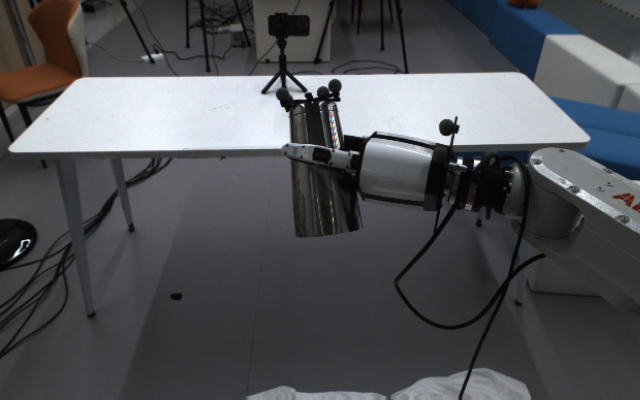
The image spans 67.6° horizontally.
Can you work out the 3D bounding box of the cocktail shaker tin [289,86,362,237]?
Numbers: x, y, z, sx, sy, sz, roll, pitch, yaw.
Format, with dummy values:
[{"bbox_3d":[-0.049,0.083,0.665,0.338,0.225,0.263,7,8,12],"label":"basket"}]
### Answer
[{"bbox_3d":[0.001,-0.041,0.650,0.093,0.170,0.093,-8,1,0],"label":"cocktail shaker tin"}]
